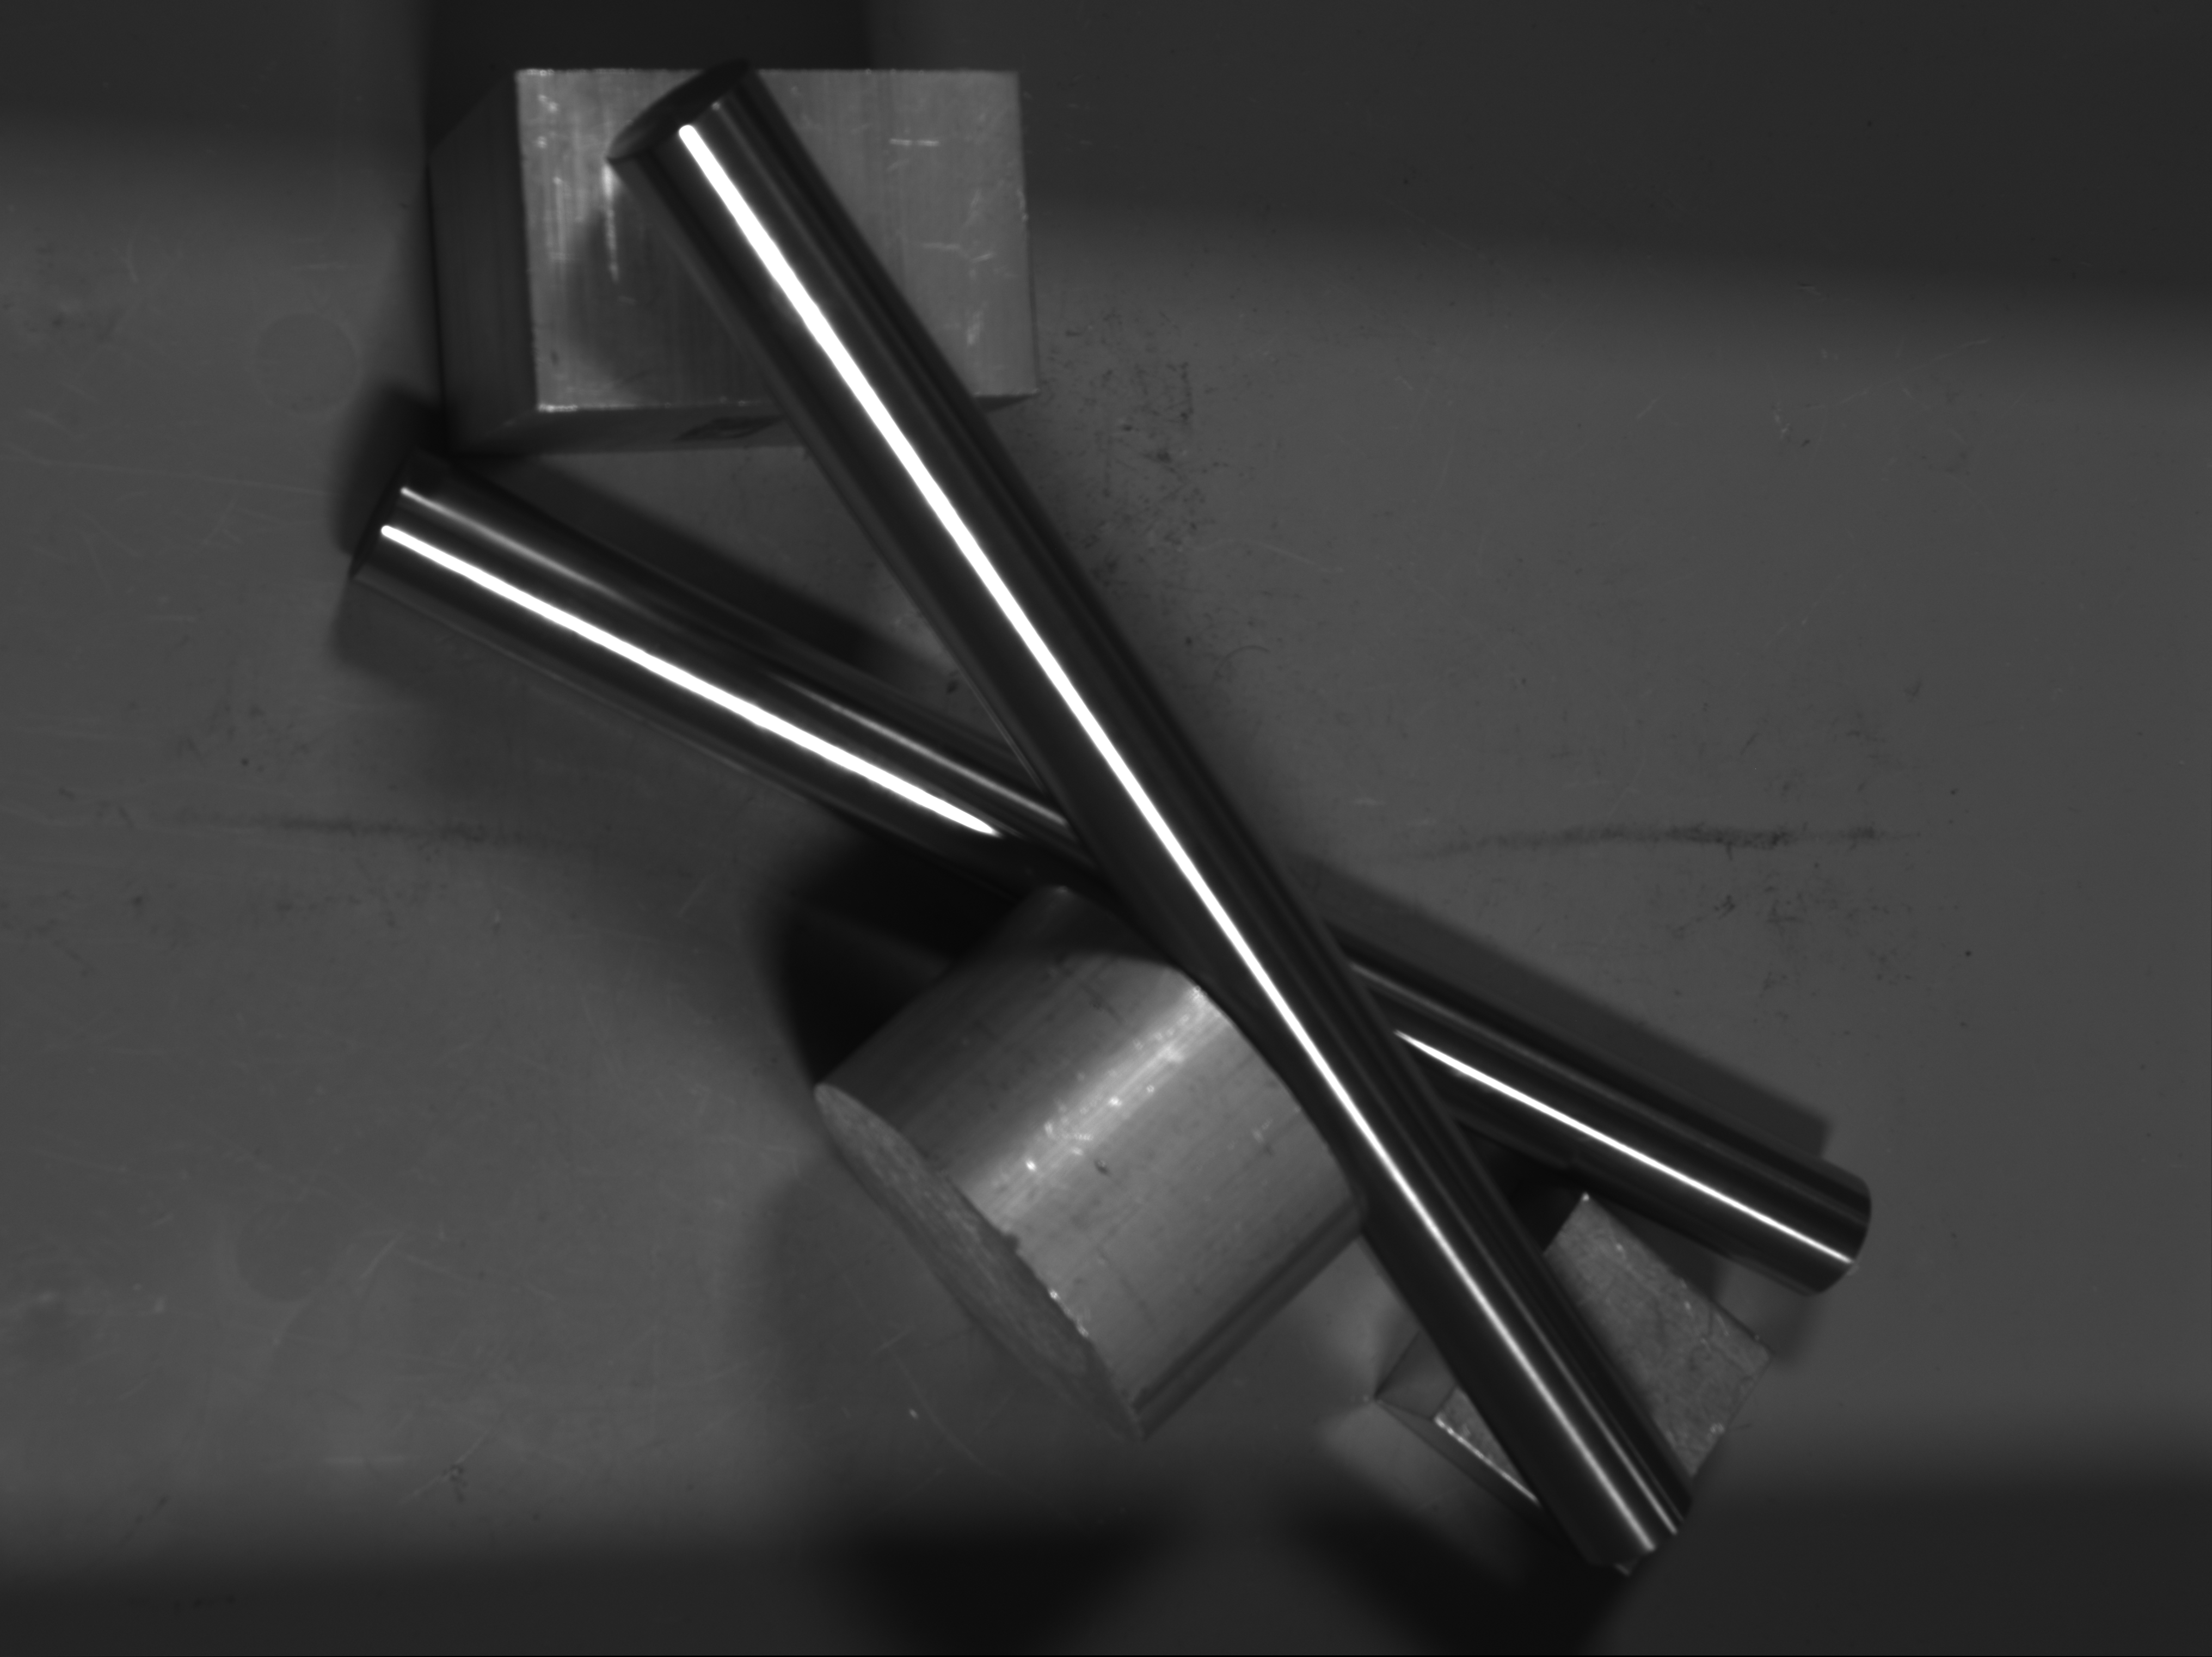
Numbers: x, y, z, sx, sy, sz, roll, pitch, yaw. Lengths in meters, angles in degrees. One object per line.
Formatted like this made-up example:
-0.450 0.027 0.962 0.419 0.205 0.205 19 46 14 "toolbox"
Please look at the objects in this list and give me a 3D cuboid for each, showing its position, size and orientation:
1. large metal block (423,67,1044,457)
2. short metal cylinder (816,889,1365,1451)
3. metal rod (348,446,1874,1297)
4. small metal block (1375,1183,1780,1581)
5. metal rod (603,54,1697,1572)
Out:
-0.062 -0.090 0.591 0.080 0.080 0.050 -4 91 -20 "large metal block"
-0.003 0.057 0.611 0.050 0.080 0.080 -41 103 -15 "short metal cylinder"
0.009 0.013 0.646 0.301 0.025 0.025 27 81 -18 "metal rod"
0.087 0.101 0.674 0.050 0.025 0.050 40 77 -15 "small metal block"
0.016 0.009 0.586 0.025 0.025 0.300 -42 115 -15 "metal rod"
